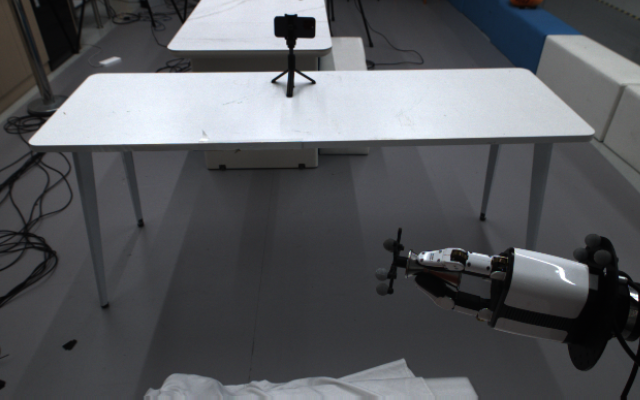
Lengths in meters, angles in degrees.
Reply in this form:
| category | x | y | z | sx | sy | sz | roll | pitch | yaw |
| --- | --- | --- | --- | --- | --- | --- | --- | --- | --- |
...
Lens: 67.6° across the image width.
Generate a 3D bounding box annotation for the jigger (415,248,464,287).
| category | x | y | z | sx | sy | sz | roll | pitch | yaw |
| --- | --- | --- | --- | --- | --- | --- | --- | --- | --- |
| jigger | 0.154 | 0.083 | 0.625 | 0.071 | 0.043 | 0.043 | 9 | 35 | 16 |
